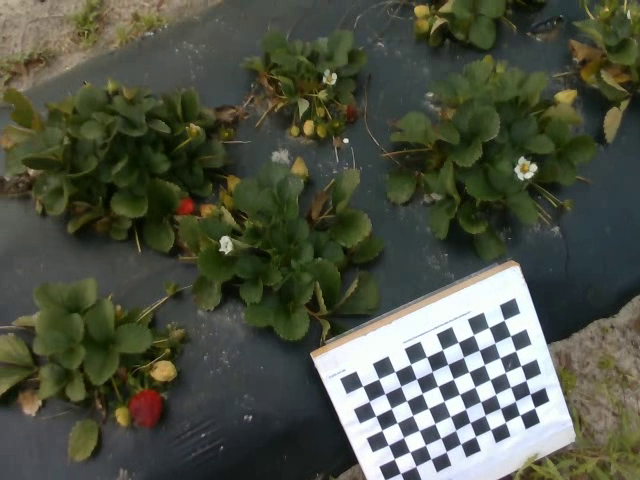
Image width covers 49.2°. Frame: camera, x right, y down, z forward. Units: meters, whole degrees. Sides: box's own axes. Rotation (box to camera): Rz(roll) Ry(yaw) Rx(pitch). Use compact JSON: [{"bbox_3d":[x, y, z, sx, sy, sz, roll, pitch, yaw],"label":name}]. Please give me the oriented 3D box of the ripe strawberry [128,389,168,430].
[{"bbox_3d":[-0.222,0.222,0.894,0.046,0.046,0.059,-29,36,-5],"label":"ripe strawberry"}]
